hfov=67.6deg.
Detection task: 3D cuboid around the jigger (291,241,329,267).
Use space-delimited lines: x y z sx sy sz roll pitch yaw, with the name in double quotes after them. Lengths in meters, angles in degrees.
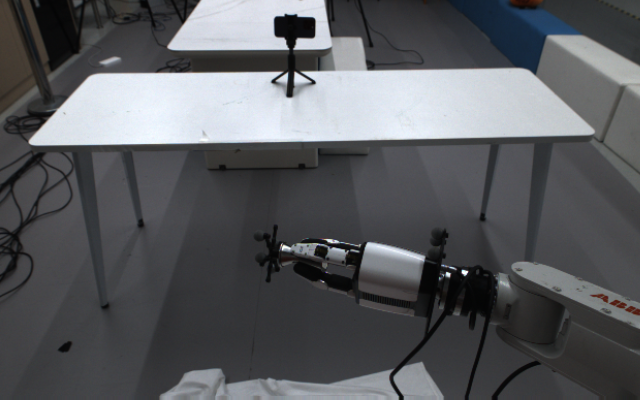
-0.017 0.080 0.729 0.071 0.043 0.043 2 34 14 "jigger"
